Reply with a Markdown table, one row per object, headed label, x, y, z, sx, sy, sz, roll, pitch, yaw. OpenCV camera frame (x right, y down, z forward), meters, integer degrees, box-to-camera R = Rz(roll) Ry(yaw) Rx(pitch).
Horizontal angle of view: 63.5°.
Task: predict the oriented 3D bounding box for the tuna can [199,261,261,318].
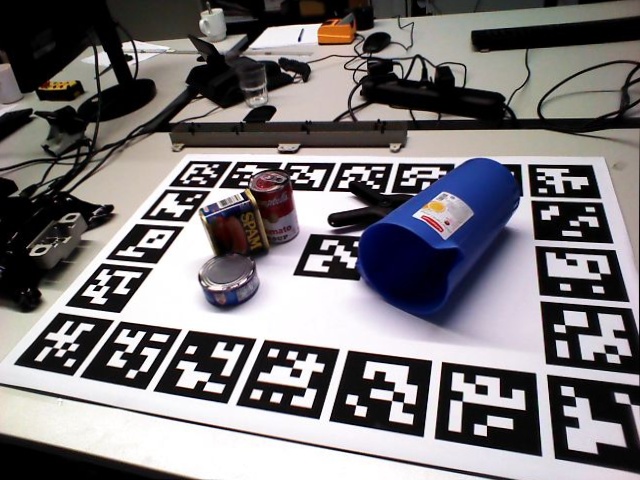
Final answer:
| label | x | y | z | sx | sy | sz | roll | pitch | yaw |
| --- | --- | --- | --- | --- | --- | --- | --- | --- | --- |
| tuna can | -0.130 | 0.072 | 0.757 | 0.086 | 0.034 | 0.085 | -7 | 40 | 6 |

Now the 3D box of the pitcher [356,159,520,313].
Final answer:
| label | x | y | z | sx | sy | sz | roll | pitch | yaw |
| --- | --- | --- | --- | --- | --- | --- | --- | --- | --- |
| pitcher | 0.172 | -0.018 | 0.710 | 0.190 | 0.133 | 0.241 | -4 | 25 | 46 |

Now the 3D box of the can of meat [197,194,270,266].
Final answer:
| label | x | y | z | sx | sy | sz | roll | pitch | yaw |
| --- | --- | --- | --- | --- | --- | --- | --- | --- | --- |
| can of meat | -0.133 | -0.008 | 0.800 | 0.083 | 0.102 | 0.058 | -23 | 40 | -9 |

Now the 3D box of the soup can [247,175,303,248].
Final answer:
| label | x | y | z | sx | sy | sz | roll | pitch | yaw |
| --- | --- | --- | --- | --- | --- | --- | --- | --- | --- |
| soup can | -0.071 | -0.045 | 0.839 | 0.068 | 0.102 | 0.067 | -9 | 39 | 7 |

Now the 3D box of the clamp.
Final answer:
| label | x | y | z | sx | sy | sz | roll | pitch | yaw |
| --- | --- | --- | --- | --- | --- | --- | --- | --- | --- |
| clamp | 0.100 | -0.044 | 0.861 | 0.166 | 0.037 | 0.121 | 6 | 37 | 16 |
